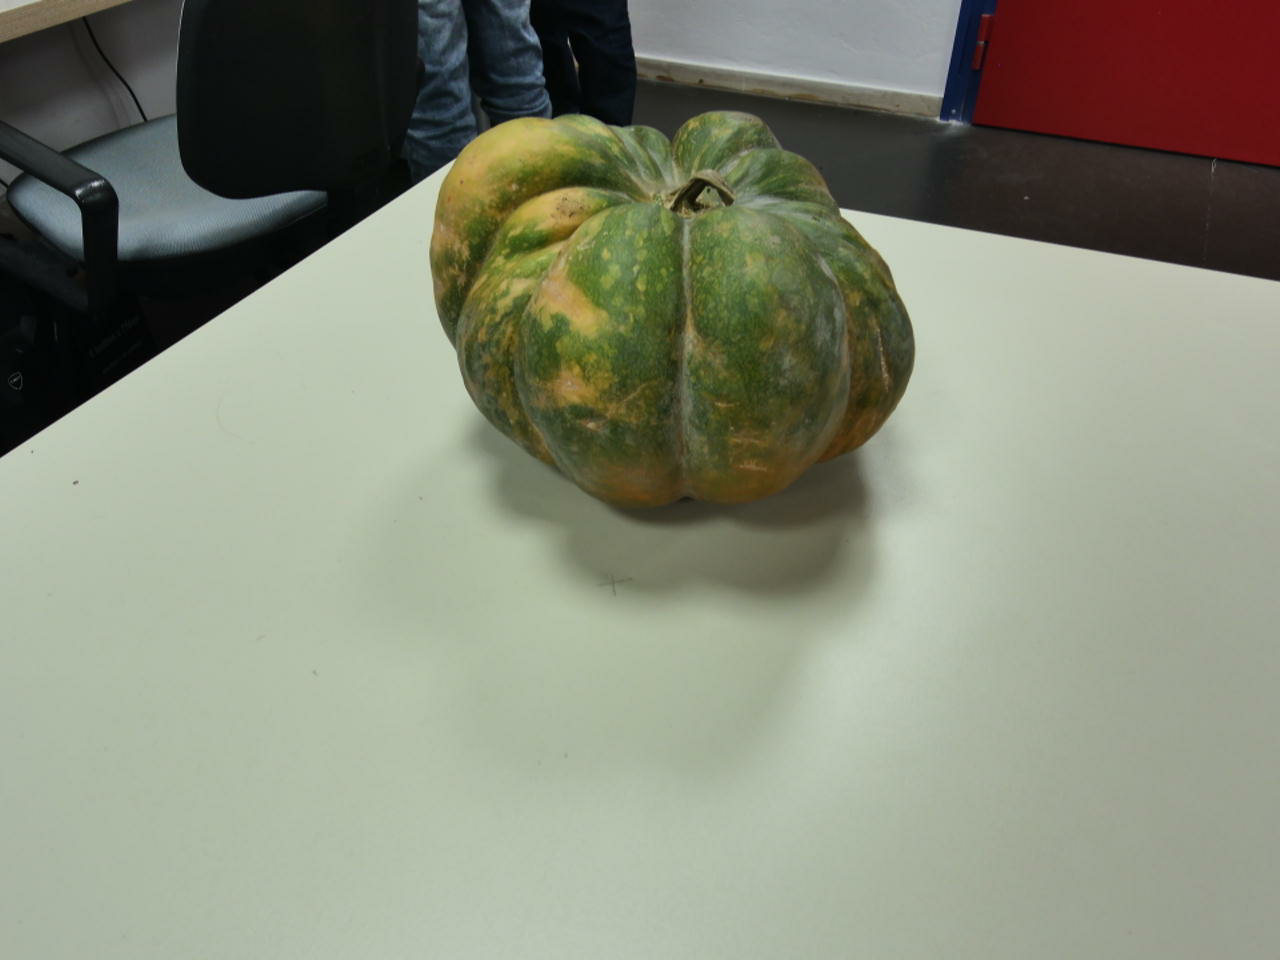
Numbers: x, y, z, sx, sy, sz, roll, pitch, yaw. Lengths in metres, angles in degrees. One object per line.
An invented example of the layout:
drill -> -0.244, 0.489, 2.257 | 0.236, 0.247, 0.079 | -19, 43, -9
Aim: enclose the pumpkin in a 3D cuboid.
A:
pumpkin -> 0.017, -0.098, 0.529 | 0.237, 0.173, 0.270 | -18, 41, -21
